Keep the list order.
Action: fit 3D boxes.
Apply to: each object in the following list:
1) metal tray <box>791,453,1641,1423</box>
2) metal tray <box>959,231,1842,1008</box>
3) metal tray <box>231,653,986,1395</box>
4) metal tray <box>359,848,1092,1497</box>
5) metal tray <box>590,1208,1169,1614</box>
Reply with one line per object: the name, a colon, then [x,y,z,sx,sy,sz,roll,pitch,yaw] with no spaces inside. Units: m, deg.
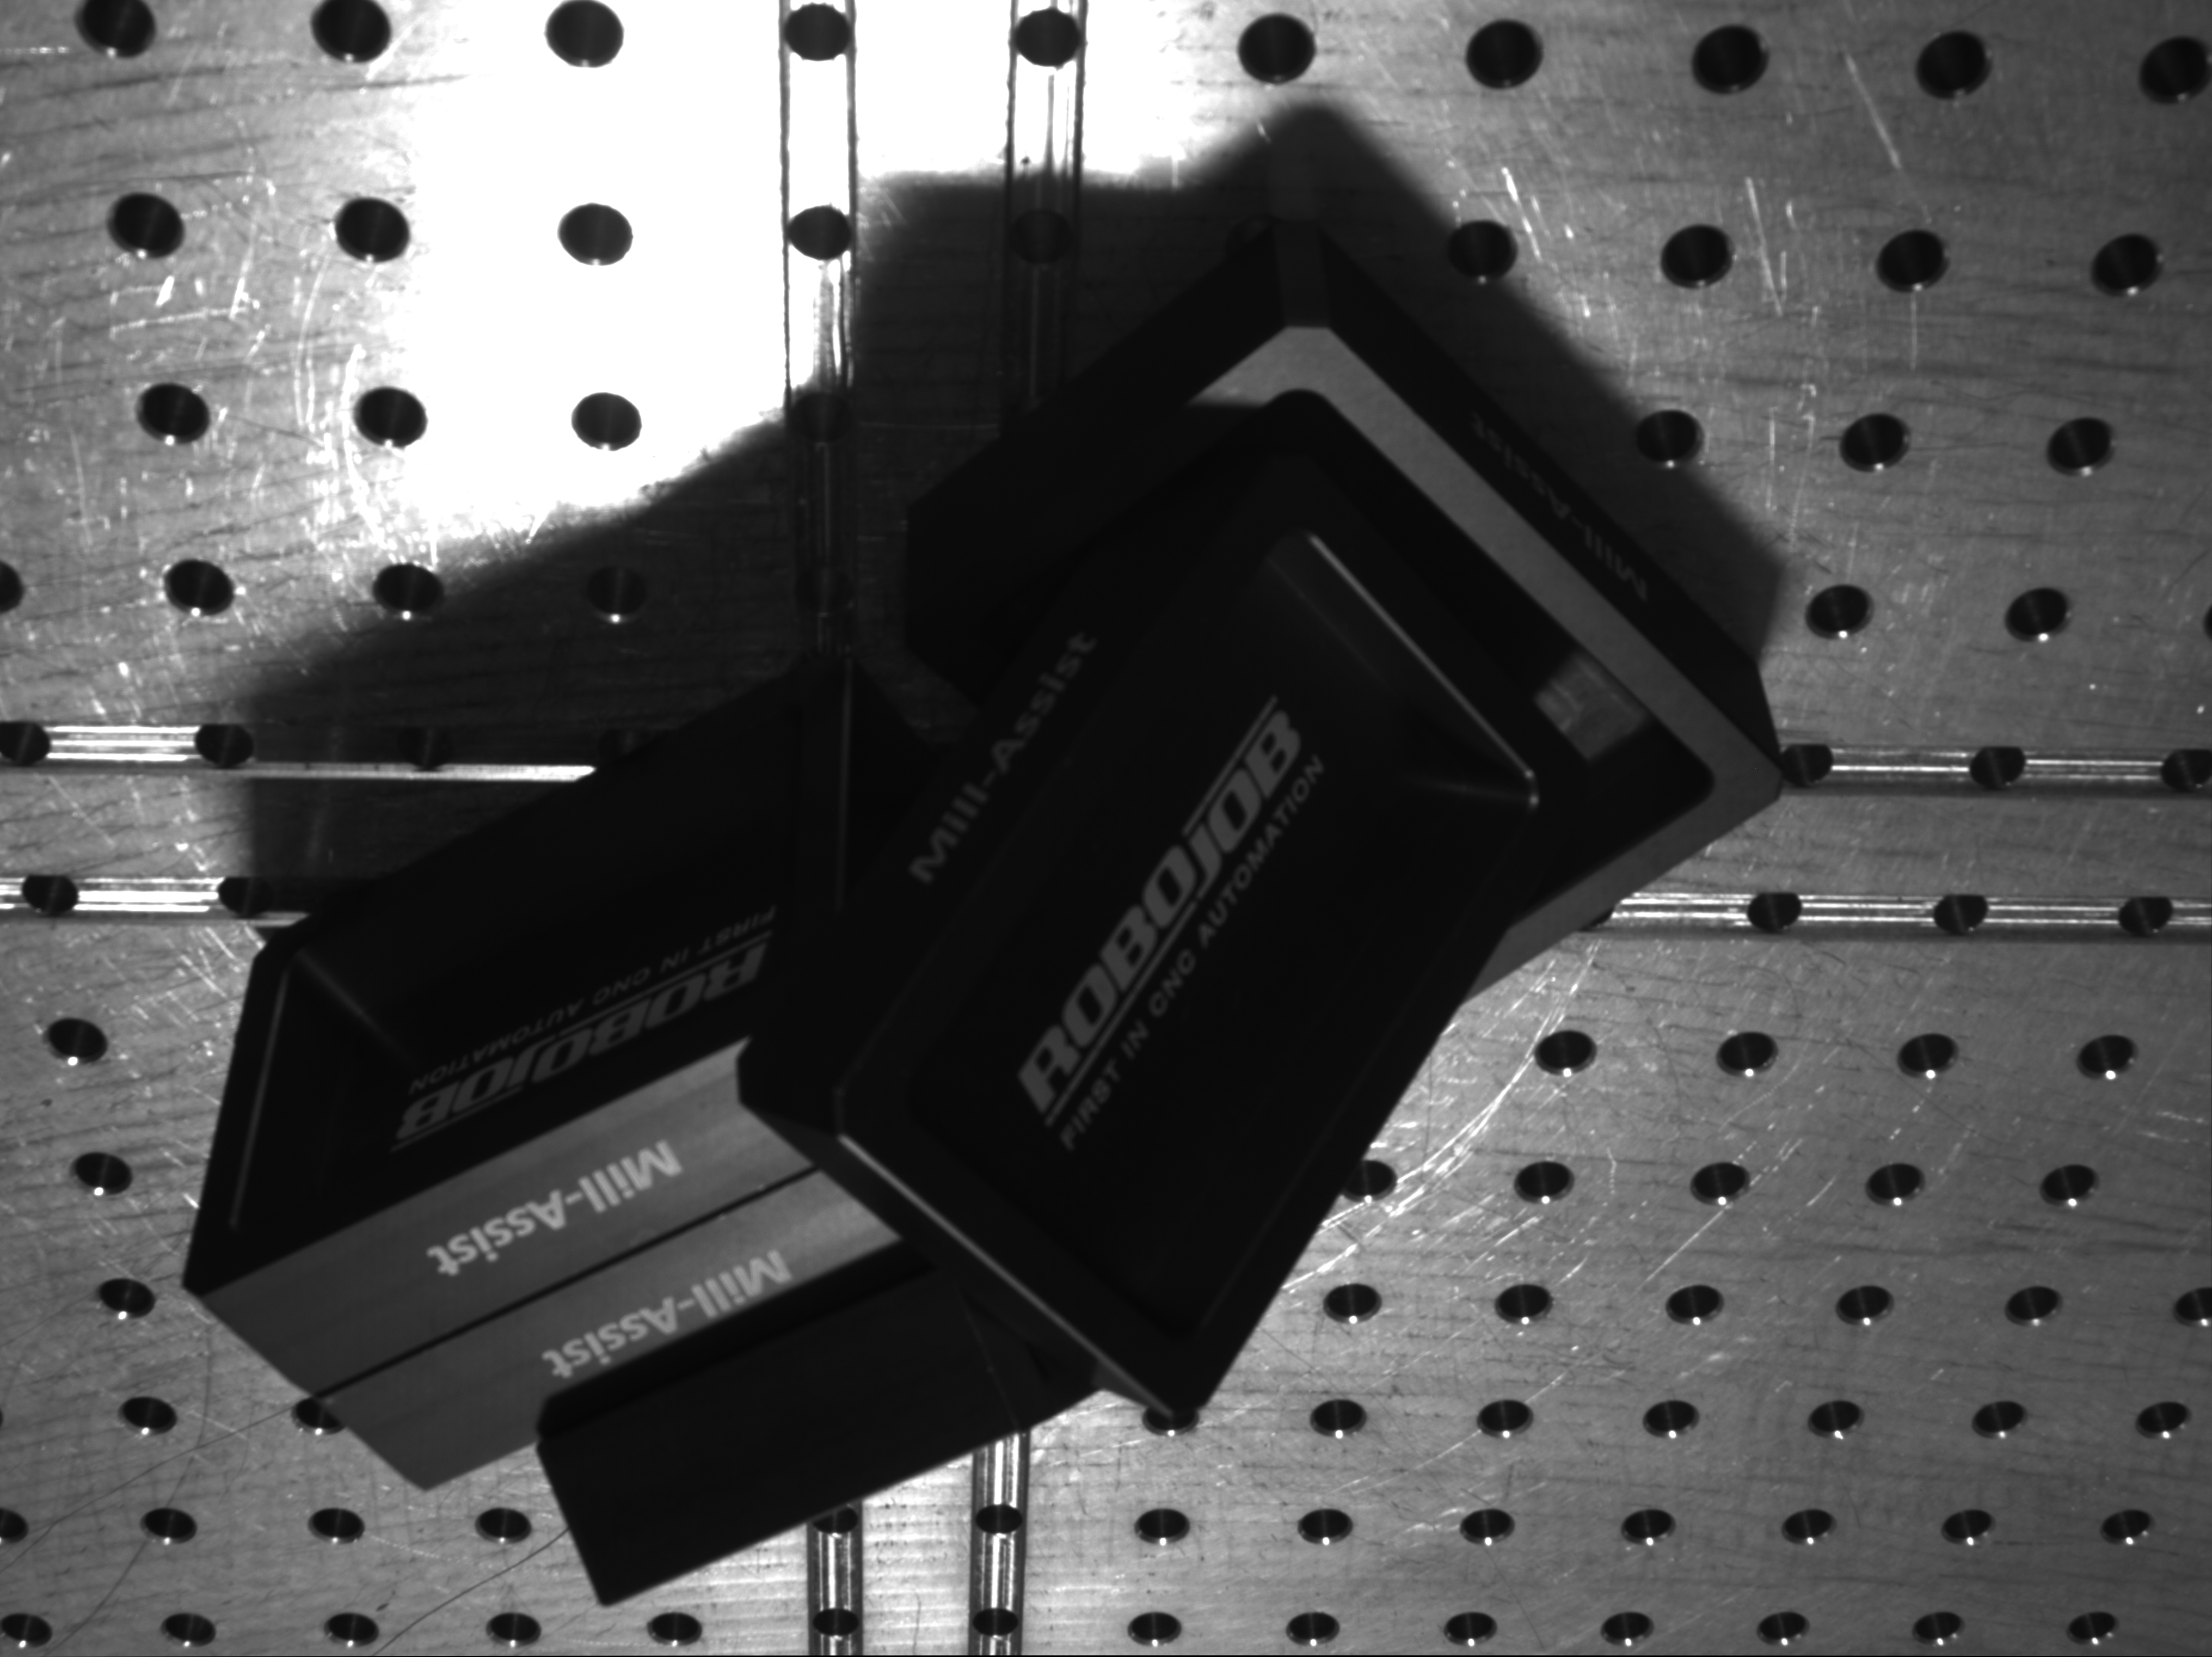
metal tray: [0.021,0.016,0.582,0.090,0.030,0.130,44,72,-31]
metal tray: [0.050,-0.028,0.615,0.090,0.030,0.130,-36,122,25]
metal tray: [-0.083,0.032,0.623,0.130,0.090,0.030,-26,126,19]
metal tray: [-0.066,0.053,0.639,0.130,0.090,0.030,-26,126,19]
metal tray: [-0.024,0.098,0.662,0.090,0.130,0.030,-26,84,19]
